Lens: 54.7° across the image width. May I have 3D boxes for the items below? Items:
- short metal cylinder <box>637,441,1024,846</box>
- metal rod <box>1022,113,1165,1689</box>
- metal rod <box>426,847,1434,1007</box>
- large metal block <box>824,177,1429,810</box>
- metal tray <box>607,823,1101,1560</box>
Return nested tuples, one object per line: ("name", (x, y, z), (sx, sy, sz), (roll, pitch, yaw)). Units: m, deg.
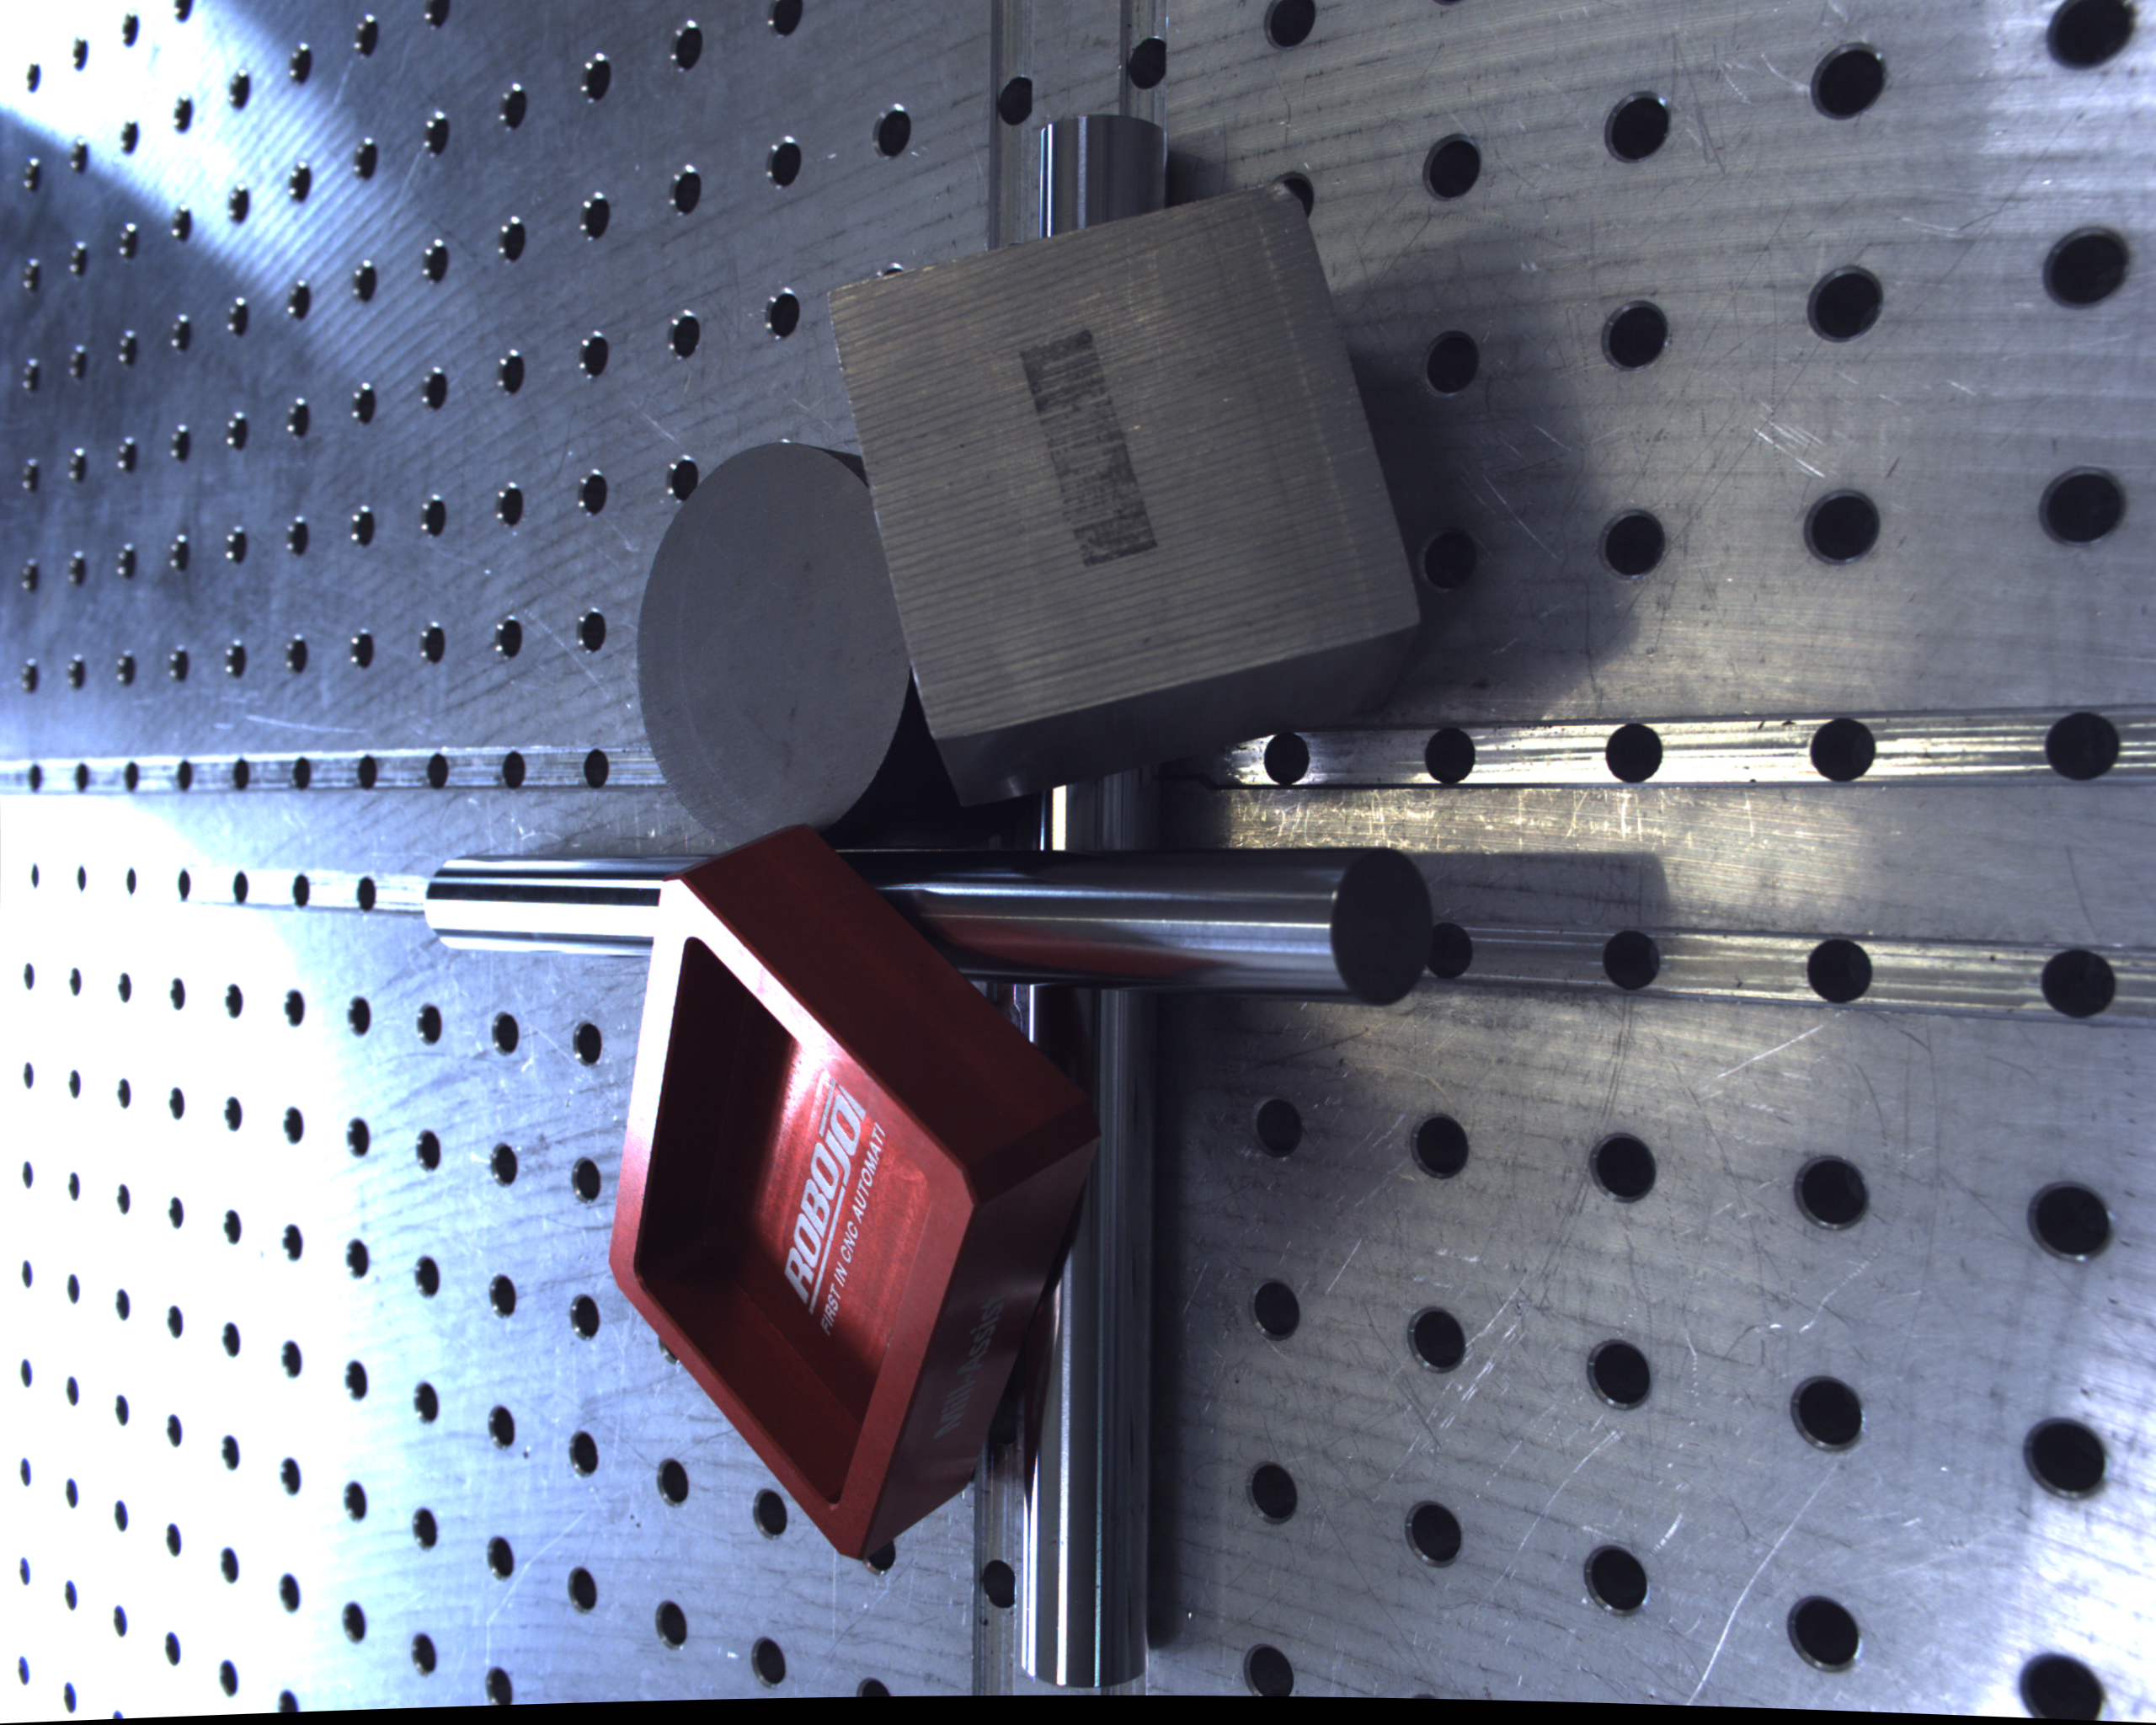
("short metal cylinder", (-0.045, -0.043, 0.430), (0.080, 0.050, 0.079), (0, 90, 40))
("metal rod", (0.003, 0.008, 0.407), (0.025, 0.025, 0.298), (1, 91, 40))
("metal rod", (-0.055, 0.010, 0.433), (0.300, 0.025, 0.025), (0, 90, 47))
("large metal block", (0.008, -0.061, 0.361), (0.080, 0.050, 0.080), (-14, 79, -1))
("metal tray", (-0.050, 0.068, 0.414), (0.090, 0.030, 0.129), (42, 137, 25))
